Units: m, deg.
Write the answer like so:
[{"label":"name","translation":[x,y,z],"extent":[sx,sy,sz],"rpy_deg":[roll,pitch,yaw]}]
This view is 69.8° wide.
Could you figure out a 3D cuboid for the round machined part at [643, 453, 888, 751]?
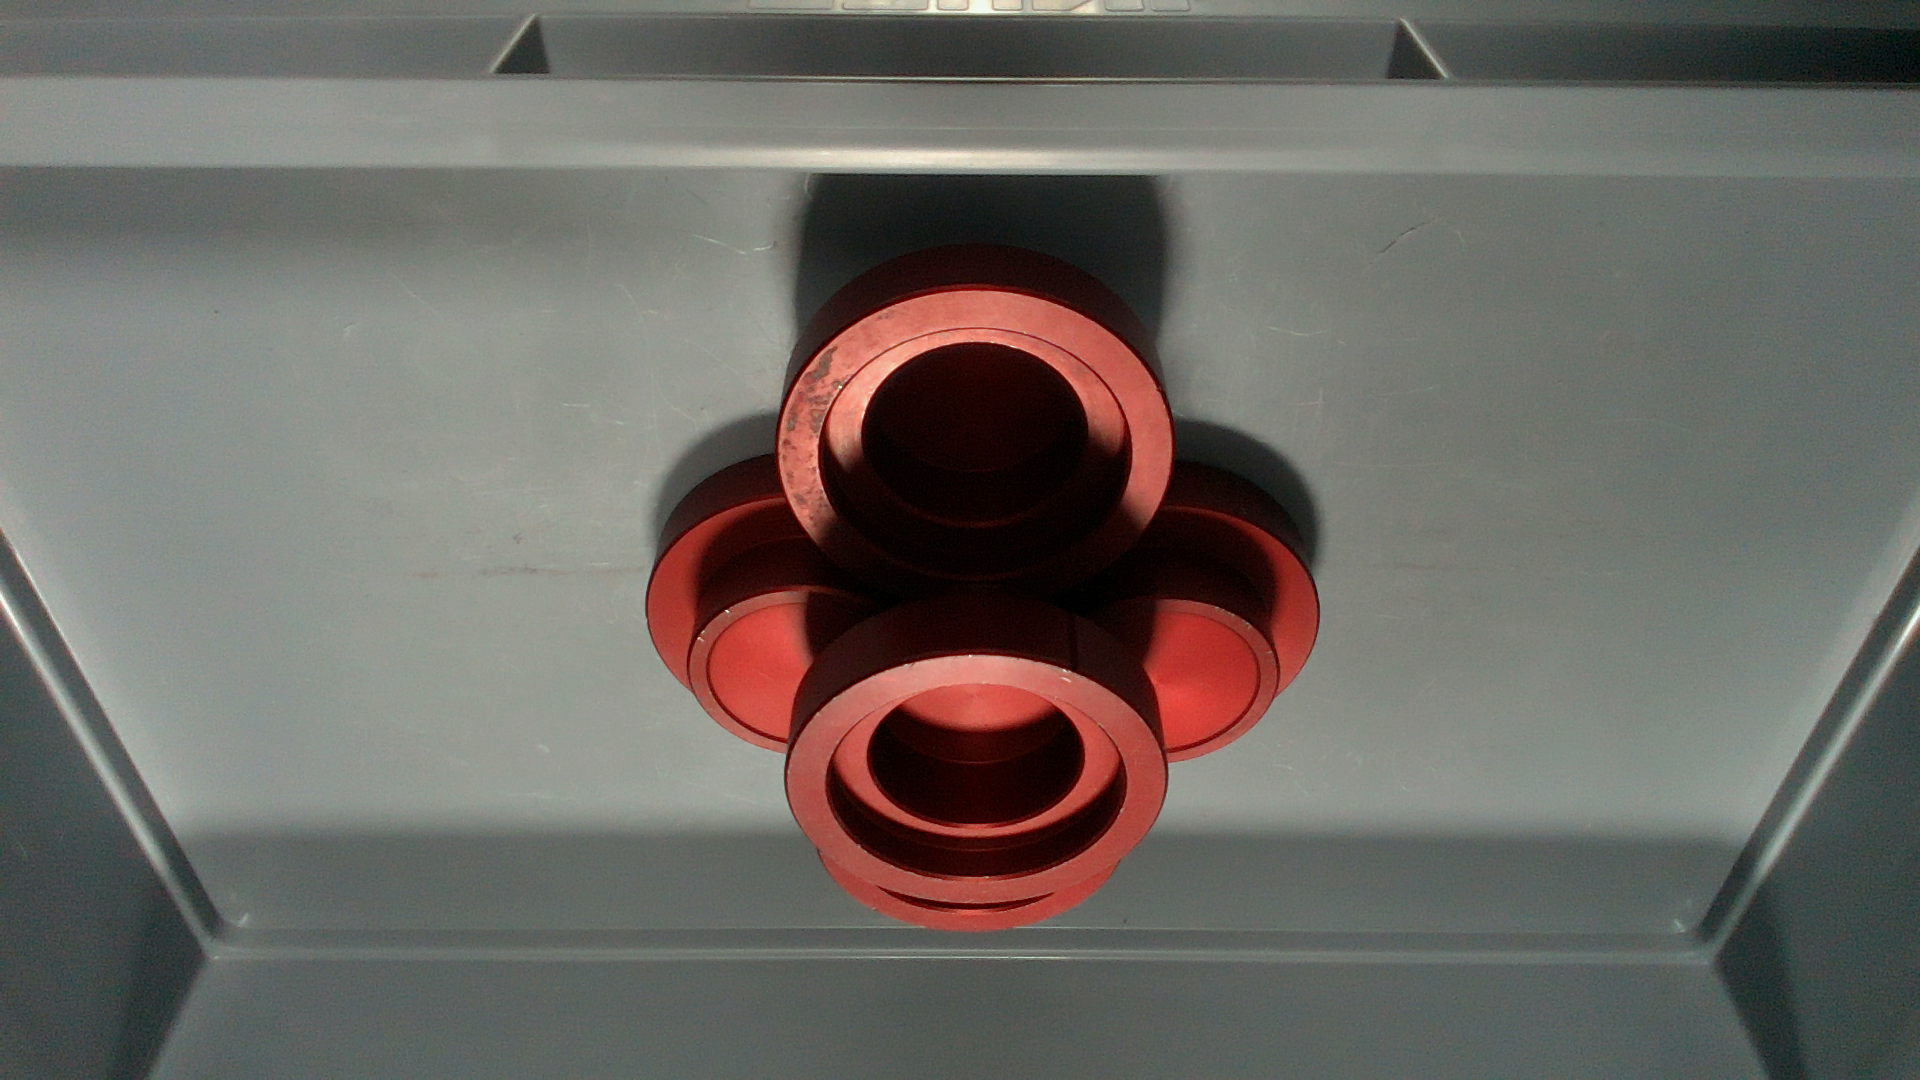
[{"label":"round machined part","translation":[-0.043,0.025,0.399],"extent":[0.098,0.042,0.098],"rpy_deg":[0,130,0]}]

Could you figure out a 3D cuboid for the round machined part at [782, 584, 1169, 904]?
[{"label":"round machined part","translation":[0.004,0.050,0.365],"extent":[0.098,0.042,0.098],"rpy_deg":[0,130,0]}]

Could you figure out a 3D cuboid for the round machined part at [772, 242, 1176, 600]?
[{"label":"round machined part","translation":[0.004,-0.032,0.350],"extent":[0.098,0.042,0.098],"rpy_deg":[0,130,0]}]

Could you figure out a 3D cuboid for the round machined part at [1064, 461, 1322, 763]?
[{"label":"round machined part","translation":[0.056,0.028,0.401],"extent":[0.098,0.042,0.098],"rpy_deg":[0,130,0]}]

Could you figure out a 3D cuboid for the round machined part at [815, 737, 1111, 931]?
[{"label":"round machined part","translation":[0.003,0.081,0.445],"extent":[0.098,0.042,0.098],"rpy_deg":[0,130,0]}]
